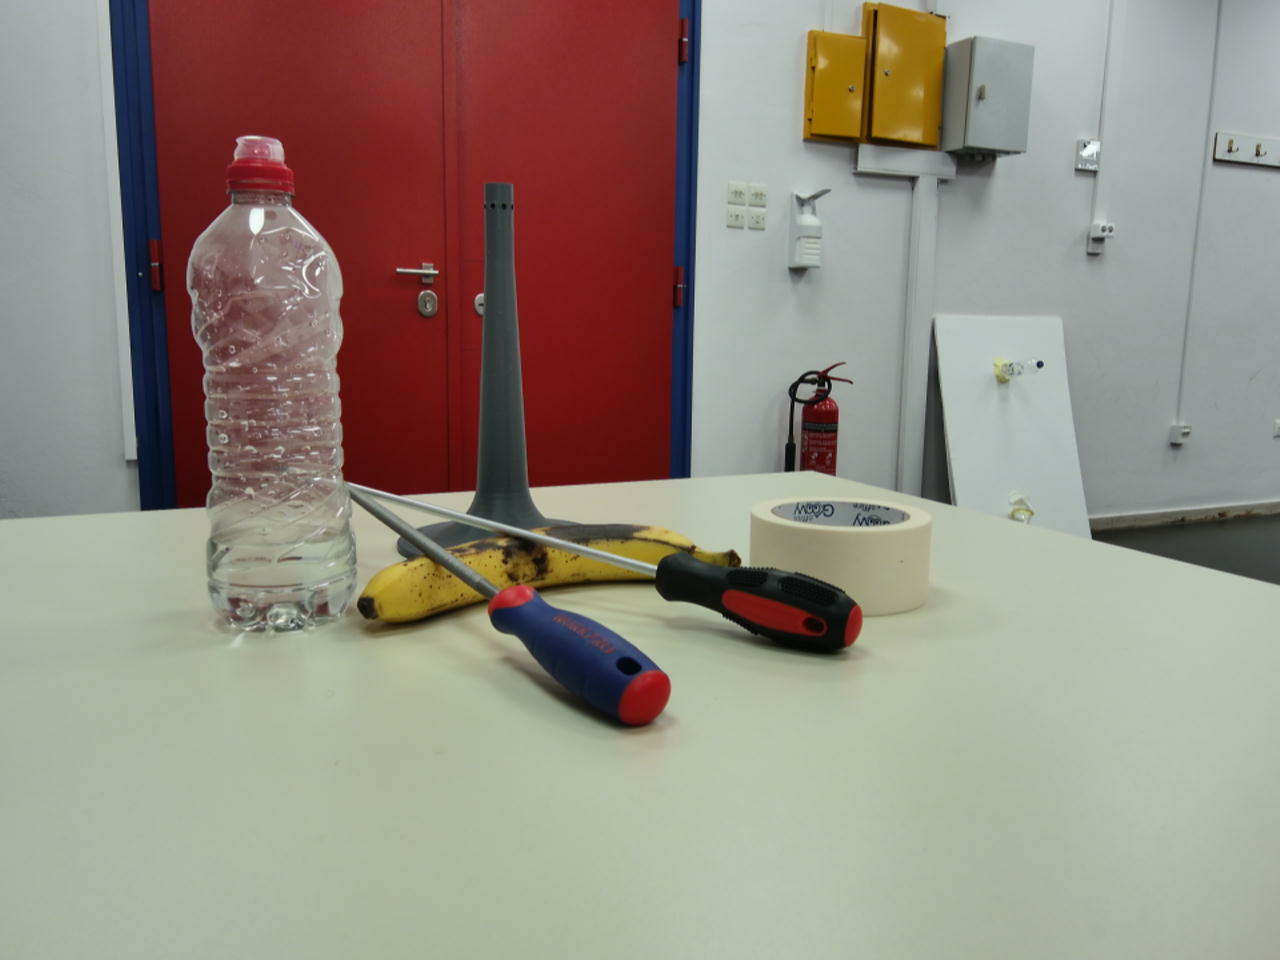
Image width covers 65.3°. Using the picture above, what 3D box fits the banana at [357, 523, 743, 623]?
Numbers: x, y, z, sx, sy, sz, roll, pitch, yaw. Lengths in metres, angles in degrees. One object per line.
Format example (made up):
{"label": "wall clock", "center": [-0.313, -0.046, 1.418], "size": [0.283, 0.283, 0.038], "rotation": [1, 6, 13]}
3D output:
{"label": "banana", "center": [-0.055, 0.051, 0.581], "size": [0.222, 0.037, 0.084], "rotation": [-3, 8, -24]}
